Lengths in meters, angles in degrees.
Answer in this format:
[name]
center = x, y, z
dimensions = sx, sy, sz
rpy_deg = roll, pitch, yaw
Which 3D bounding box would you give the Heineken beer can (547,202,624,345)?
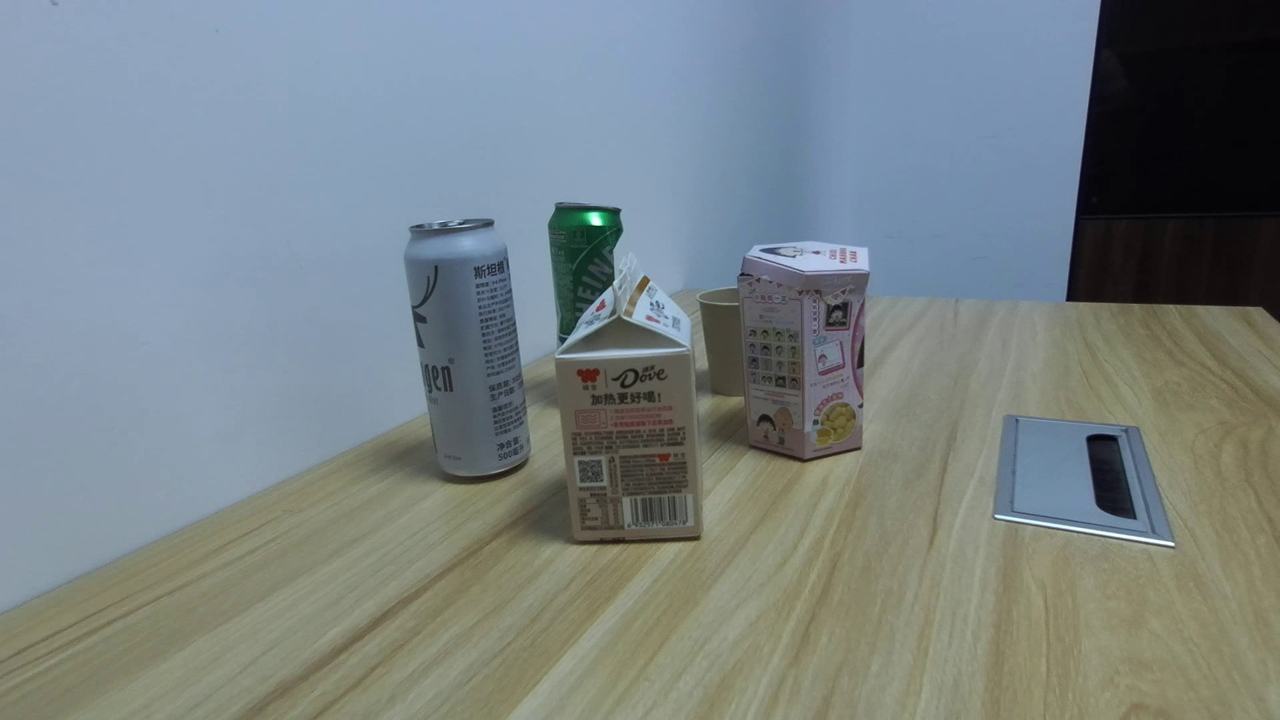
[Heineken beer can]
center = -0.038, -0.038, 0.578
dimensions = 0.069, 0.168, 0.069
rpy_deg = -3, -2, 29

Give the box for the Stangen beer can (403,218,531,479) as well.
[Stangen beer can]
center = -0.115, -0.006, 0.481
dimensions = 0.067, 0.171, 0.067
rpy_deg = -4, 15, 1

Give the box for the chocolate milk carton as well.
[chocolate milk carton]
center = -0.003, 0.018, 0.400
dimensions = 0.074, 0.148, 0.075
rpy_deg = -3, 16, 6

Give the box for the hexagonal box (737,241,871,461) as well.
[hexagonal box]
center = 0.113, -0.009, 0.489
dimensions = 0.085, 0.135, 0.092
rpy_deg = 2, 18, 14
